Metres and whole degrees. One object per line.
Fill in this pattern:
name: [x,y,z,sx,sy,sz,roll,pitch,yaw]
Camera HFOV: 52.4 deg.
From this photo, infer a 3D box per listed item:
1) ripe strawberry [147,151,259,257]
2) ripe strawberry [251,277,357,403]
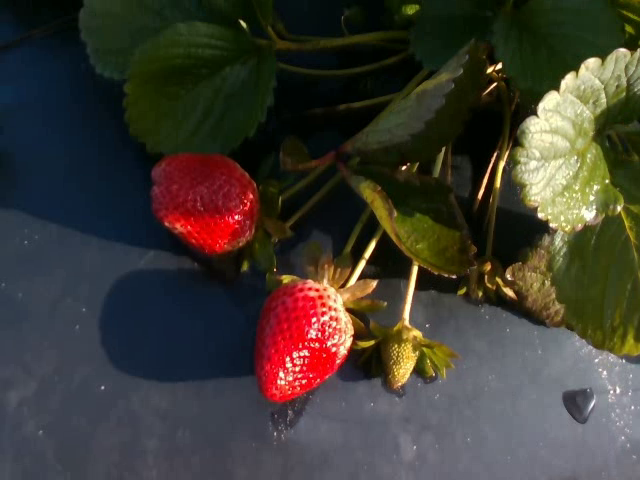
ripe strawberry: [-0.046,-0.015,0.260,0.054,0.048,0.039,9,3,-33]
ripe strawberry: [-0.008,0.039,0.235,0.043,0.053,0.038,38,-42,-10]
